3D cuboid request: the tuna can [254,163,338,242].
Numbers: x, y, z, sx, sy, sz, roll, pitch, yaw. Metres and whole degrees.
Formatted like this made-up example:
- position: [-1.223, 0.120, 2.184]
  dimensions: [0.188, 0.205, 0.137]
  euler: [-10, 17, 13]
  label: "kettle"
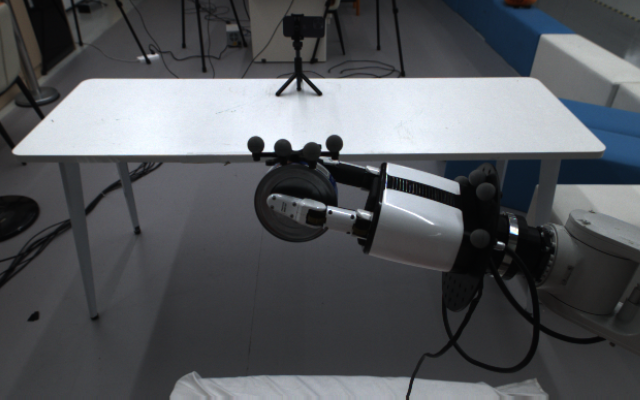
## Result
- position: [-0.020, 0.004, 0.505]
  dimensions: [0.085, 0.085, 0.034]
  euler: [4, 18, 3]
  label: "tuna can"
